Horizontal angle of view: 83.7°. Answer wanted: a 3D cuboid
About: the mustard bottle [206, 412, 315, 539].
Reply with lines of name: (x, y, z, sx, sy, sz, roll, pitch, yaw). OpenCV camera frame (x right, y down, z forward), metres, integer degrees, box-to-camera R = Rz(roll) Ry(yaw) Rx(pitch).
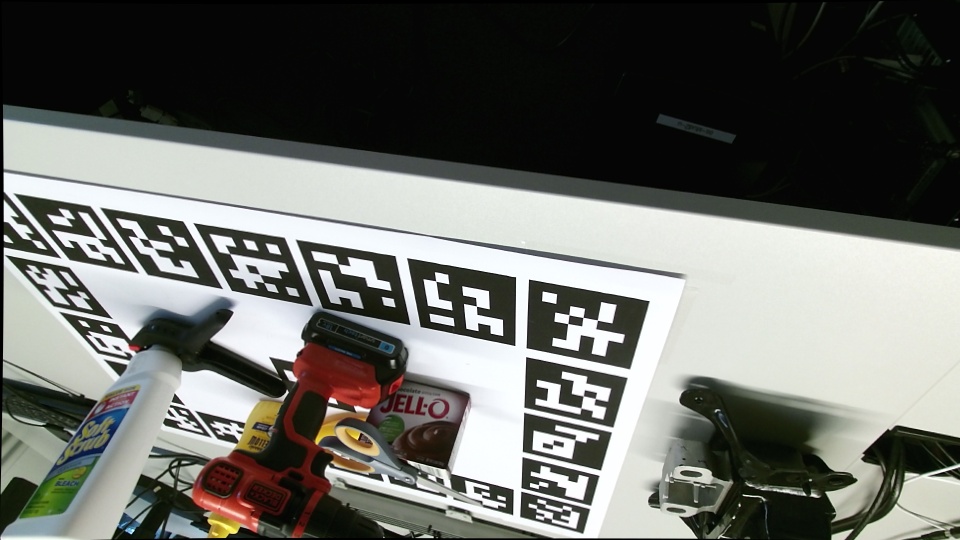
mustard bottle: (-0.312, 0.282, 0.743, 0.096, 0.191, 0.058, 20, 137, 3)

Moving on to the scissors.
scissors: (-0.080, 0.240, 0.586, 0.203, 0.016, 0.088, 30, 132, -2)

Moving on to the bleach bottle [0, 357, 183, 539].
bleach bottle: (-0.435, 0.197, 0.636, 0.103, 0.249, 0.068, -10, 133, 19)

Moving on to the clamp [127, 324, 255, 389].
clamp: (-0.374, 0.120, 0.689, 0.203, 0.036, 0.165, 5, 132, 18)

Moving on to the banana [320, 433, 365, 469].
banana: (-0.190, 0.264, 0.775, 0.197, 0.038, 0.074, -25, 137, 37)

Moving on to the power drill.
power drill: (-0.152, 0.172, 0.528, 0.185, 0.186, 0.057, 16, 143, 1)

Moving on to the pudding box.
pudding box: (-0.072, 0.190, 0.627, 0.114, 0.089, 0.039, 12, 143, 10)
